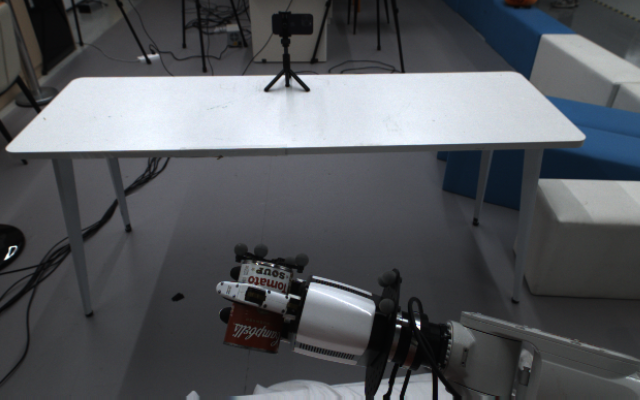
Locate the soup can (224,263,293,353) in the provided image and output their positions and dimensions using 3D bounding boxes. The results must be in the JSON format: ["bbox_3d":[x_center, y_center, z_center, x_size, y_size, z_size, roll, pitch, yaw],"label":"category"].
[{"bbox_3d":[-0.073,0.132,0.592,0.067,0.067,0.101,8,72,8],"label":"soup can"}]
